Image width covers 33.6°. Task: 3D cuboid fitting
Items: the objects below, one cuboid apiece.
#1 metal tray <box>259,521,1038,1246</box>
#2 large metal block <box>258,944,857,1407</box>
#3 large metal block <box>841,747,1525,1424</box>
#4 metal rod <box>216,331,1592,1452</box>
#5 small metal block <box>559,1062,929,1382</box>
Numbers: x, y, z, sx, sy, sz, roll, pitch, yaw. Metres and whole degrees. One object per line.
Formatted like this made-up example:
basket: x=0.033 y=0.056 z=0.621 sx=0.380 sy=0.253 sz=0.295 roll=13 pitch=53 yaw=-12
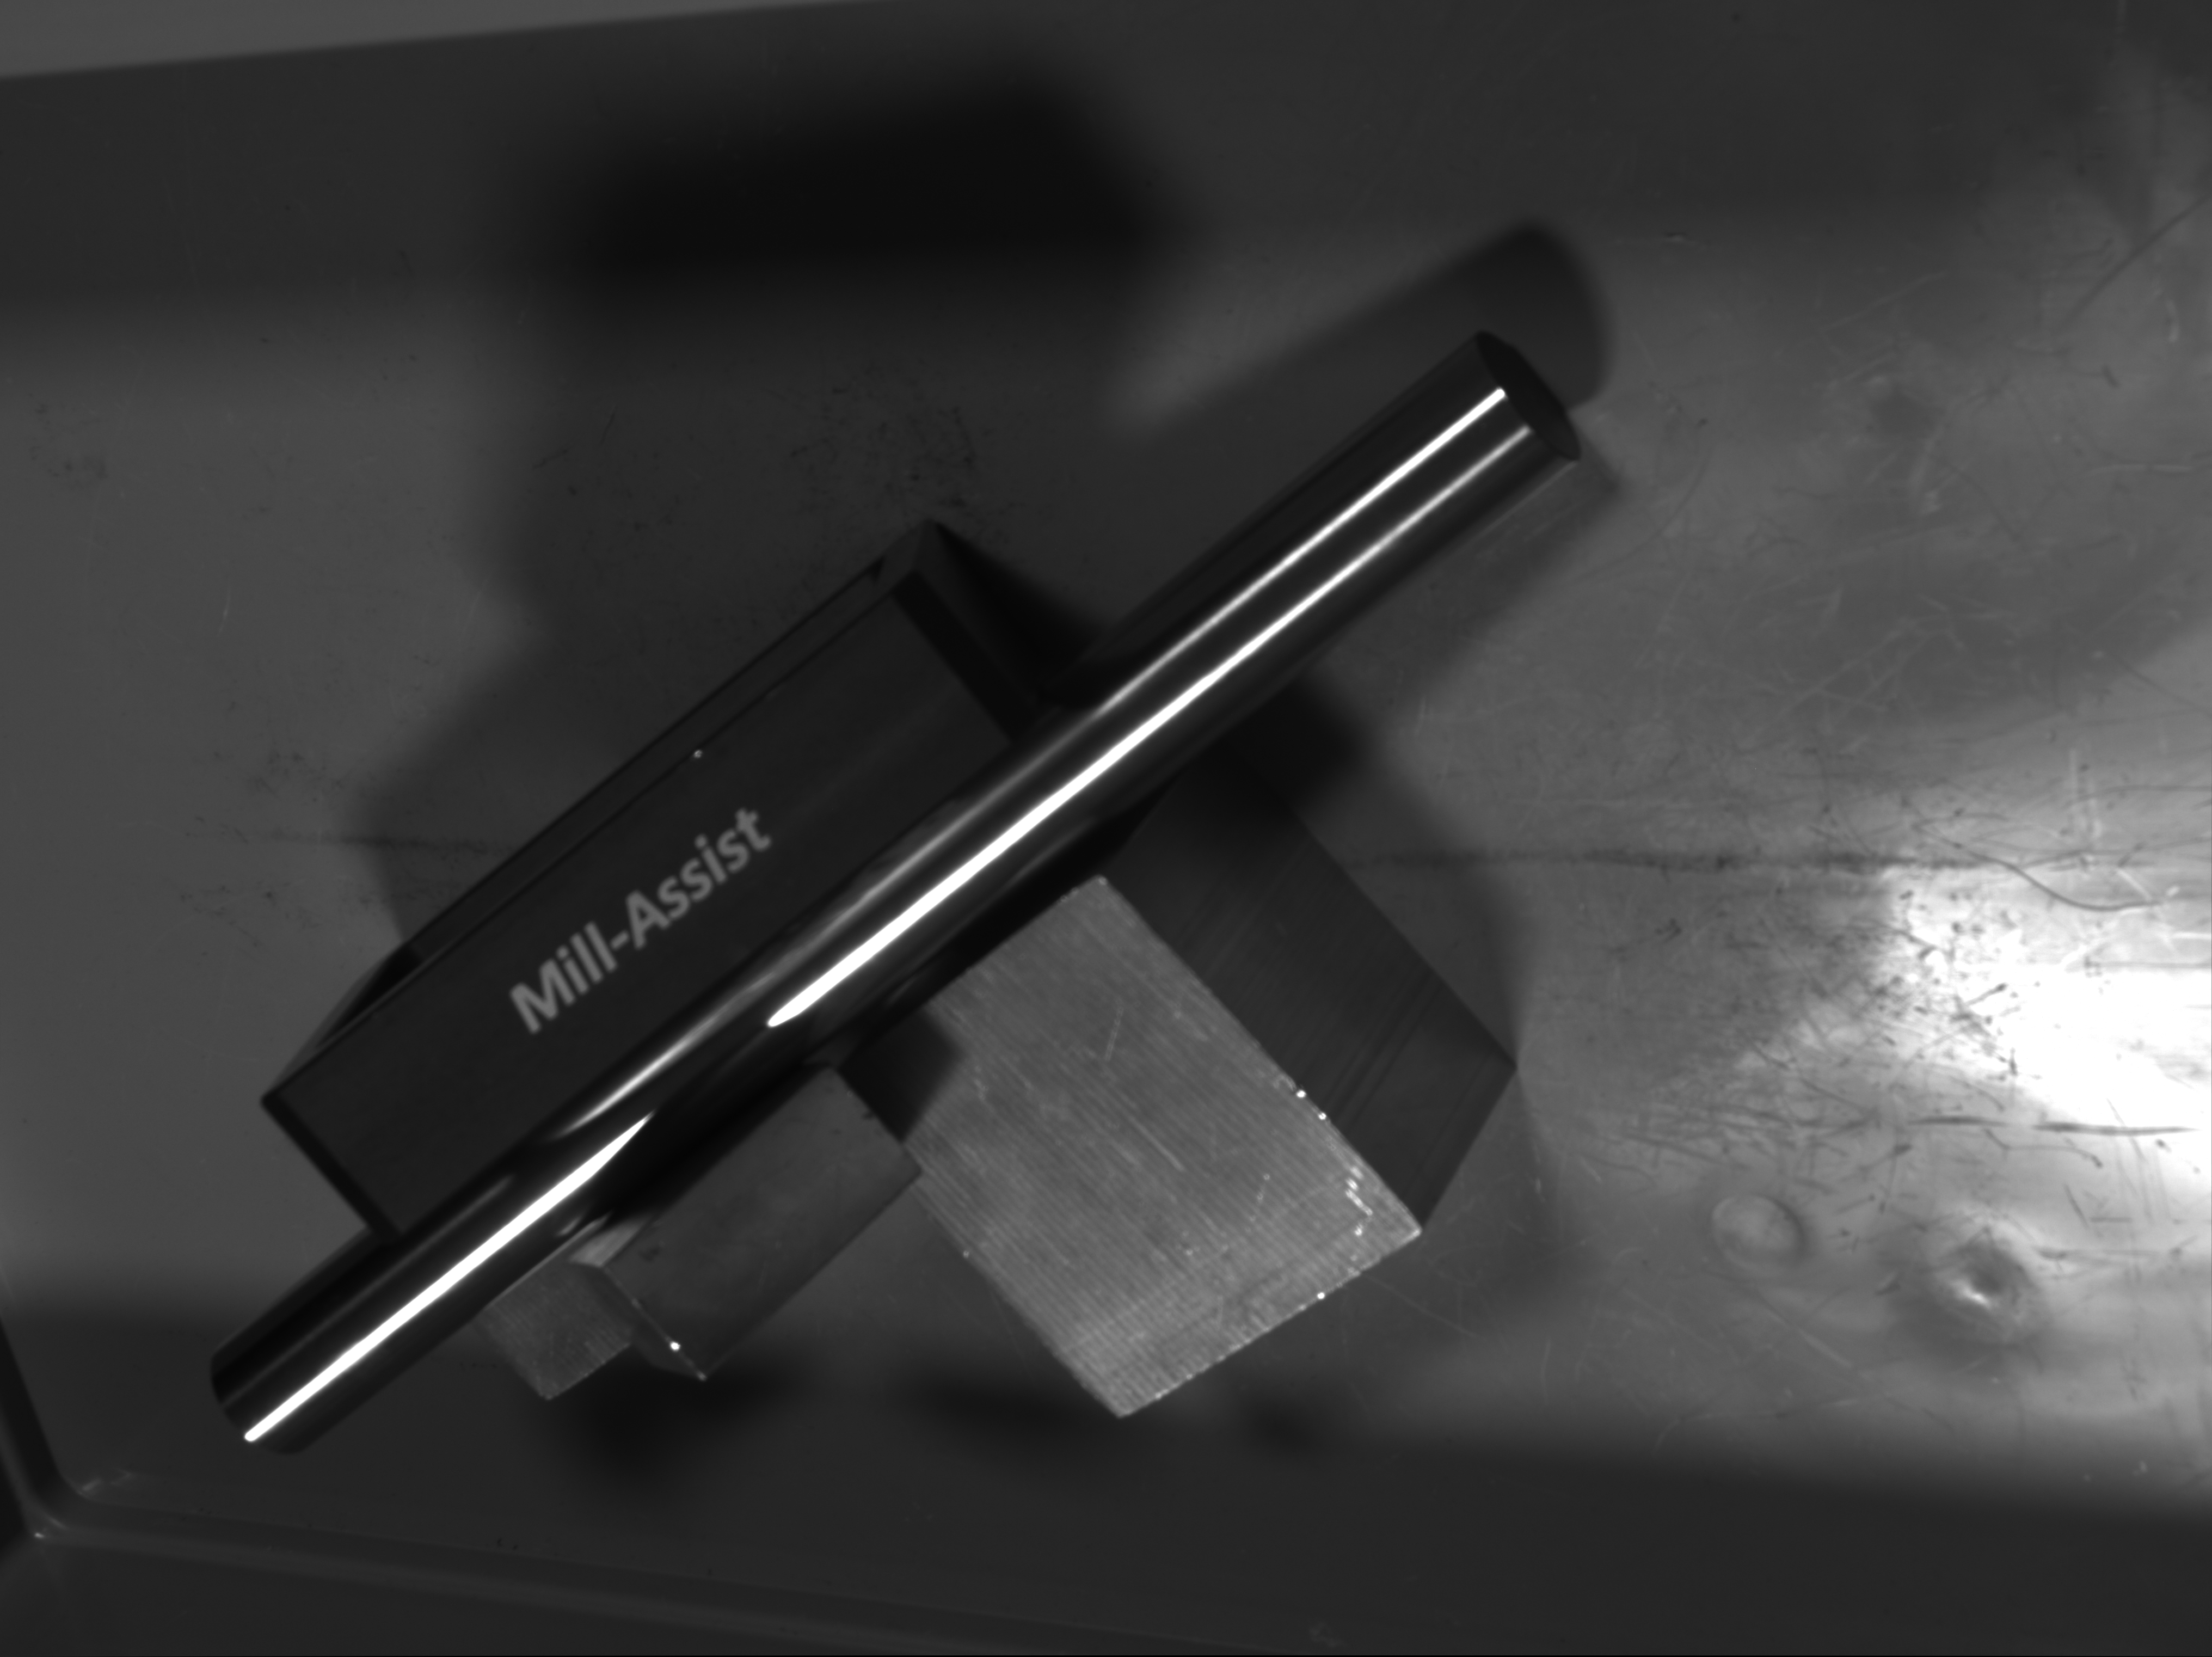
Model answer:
metal tray: x=-0.071 y=0.006 z=0.593 sx=0.130 sy=0.090 sz=0.030 roll=-39 pitch=99 yaw=5
large metal block: x=-0.098 y=0.050 z=0.690 sx=0.080 sy=0.050 sz=0.080 roll=47 pitch=128 yaw=-6
large metal block: x=0.011 y=0.044 z=0.635 sx=0.080 sy=0.050 sz=0.080 roll=47 pitch=128 yaw=-6
metal rod: x=-0.044 y=0.019 z=0.616 sx=0.300 sy=0.025 sz=0.025 roll=-38 pitch=98 yaw=22
small metal block: x=-0.062 y=0.066 z=0.623 sx=0.025 sy=0.050 sz=0.050 roll=50 pitch=164 yaw=-7
